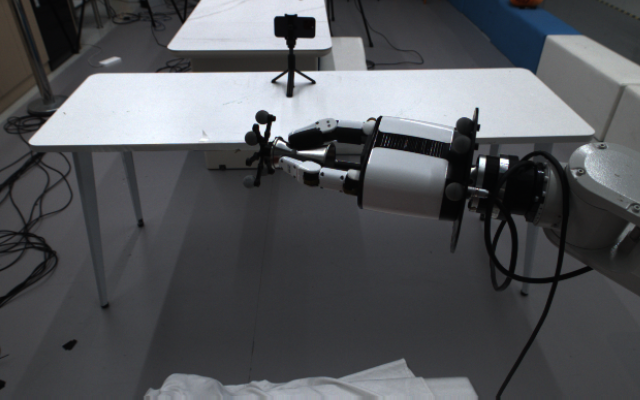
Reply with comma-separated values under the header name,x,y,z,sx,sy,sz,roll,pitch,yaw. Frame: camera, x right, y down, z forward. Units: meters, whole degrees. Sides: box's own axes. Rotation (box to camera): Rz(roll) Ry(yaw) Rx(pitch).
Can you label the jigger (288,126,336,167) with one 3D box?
name,x,y,z,sx,sy,sz,roll,pitch,yaw
jigger,-0.014,-0.053,0.575,0.071,0.043,0.043,10,36,15
